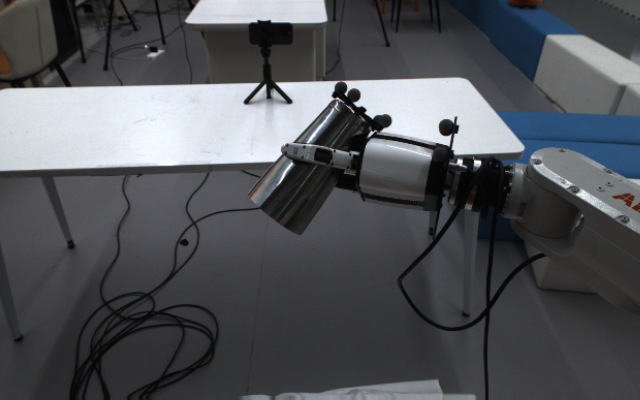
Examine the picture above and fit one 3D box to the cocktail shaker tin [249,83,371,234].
[{"bbox_3d":[-0.008,-0.050,0.650,0.170,0.093,0.093,-50,46,4],"label":"cocktail shaker tin"}]
